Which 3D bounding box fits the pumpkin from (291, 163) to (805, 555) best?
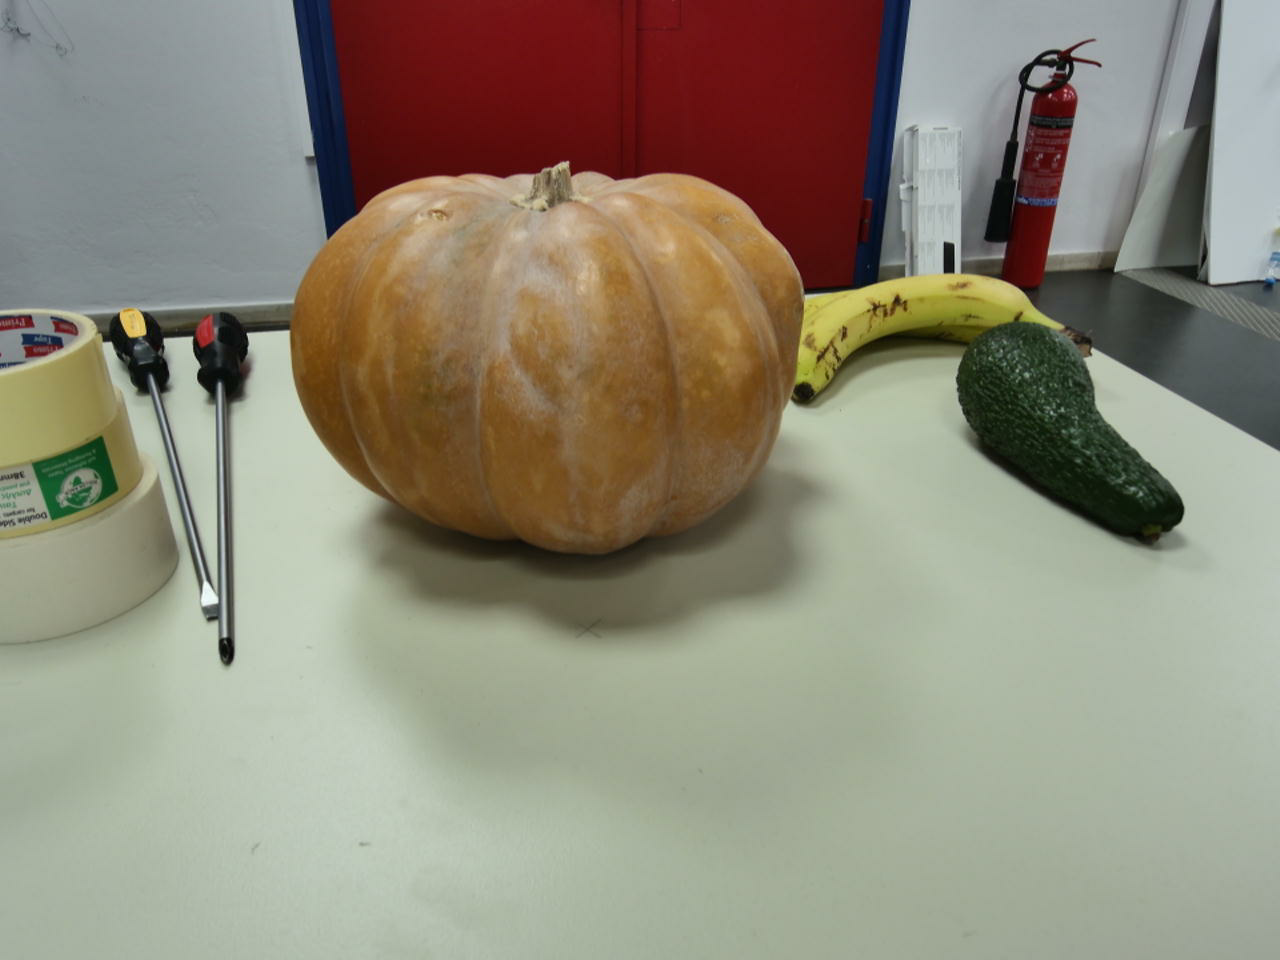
[{"bbox_3d":[-0.043,-0.071,0.525,0.277,0.181,0.277,0,26,0],"label":"pumpkin"}]
